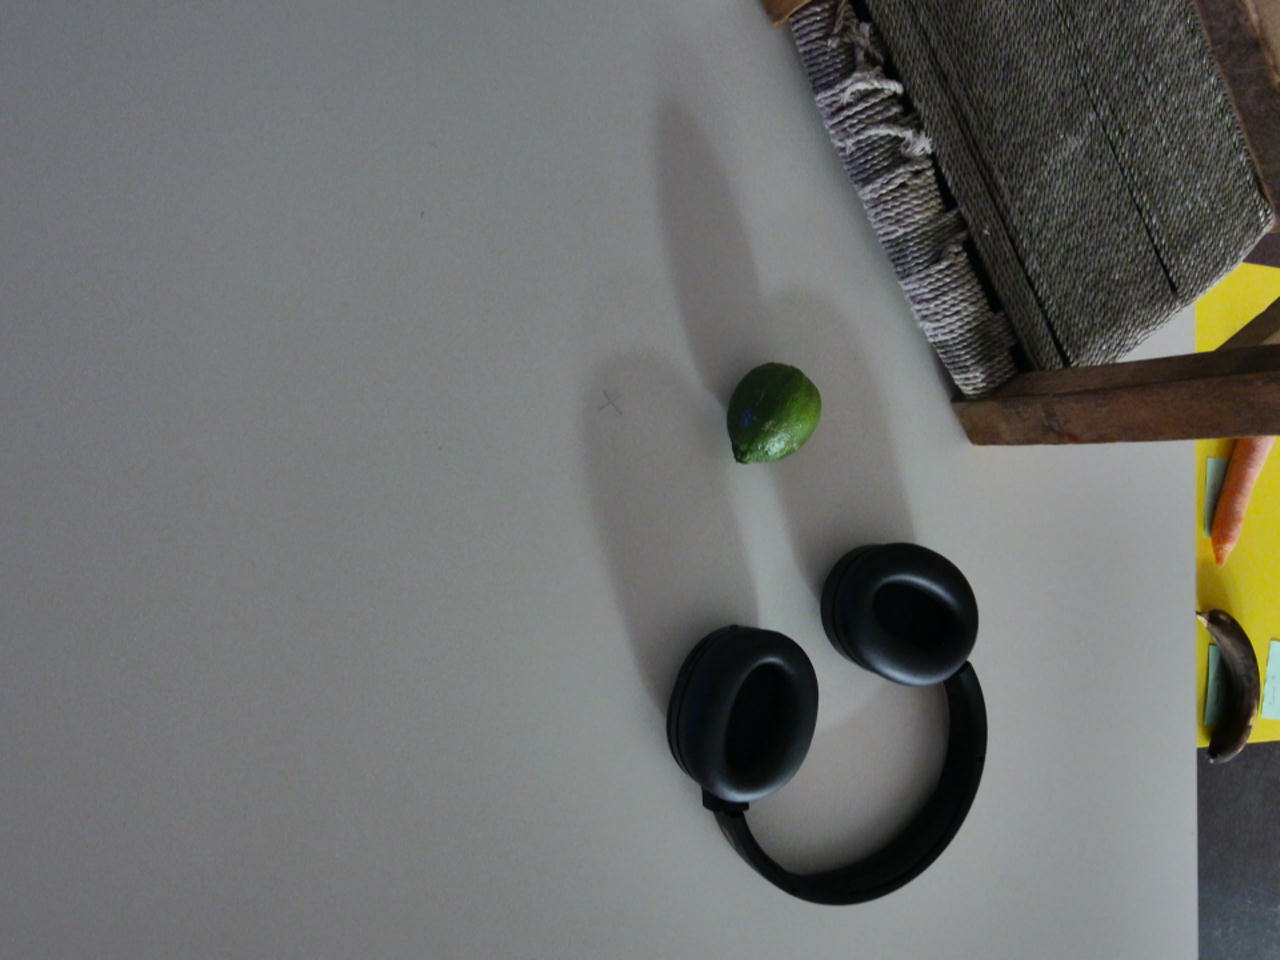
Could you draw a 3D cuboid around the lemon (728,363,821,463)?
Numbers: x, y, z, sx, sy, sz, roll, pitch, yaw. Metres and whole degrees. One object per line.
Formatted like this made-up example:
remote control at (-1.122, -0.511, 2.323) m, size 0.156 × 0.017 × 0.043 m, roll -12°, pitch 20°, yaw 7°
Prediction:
lemon at (0.078, -0.039, 0.579) m, size 0.054 × 0.051 × 0.057 m, roll -5°, pitch 93°, yaw -22°
